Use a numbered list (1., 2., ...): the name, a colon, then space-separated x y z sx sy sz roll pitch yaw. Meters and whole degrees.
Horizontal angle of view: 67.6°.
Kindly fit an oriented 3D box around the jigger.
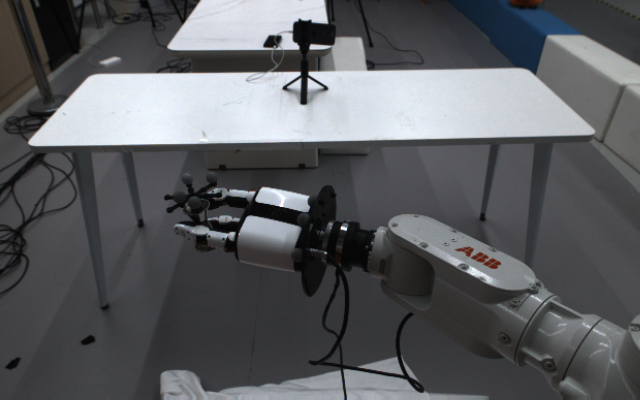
1. jigger: -0.172 0.035 0.725 0.043 0.071 0.043 -8 31 5
